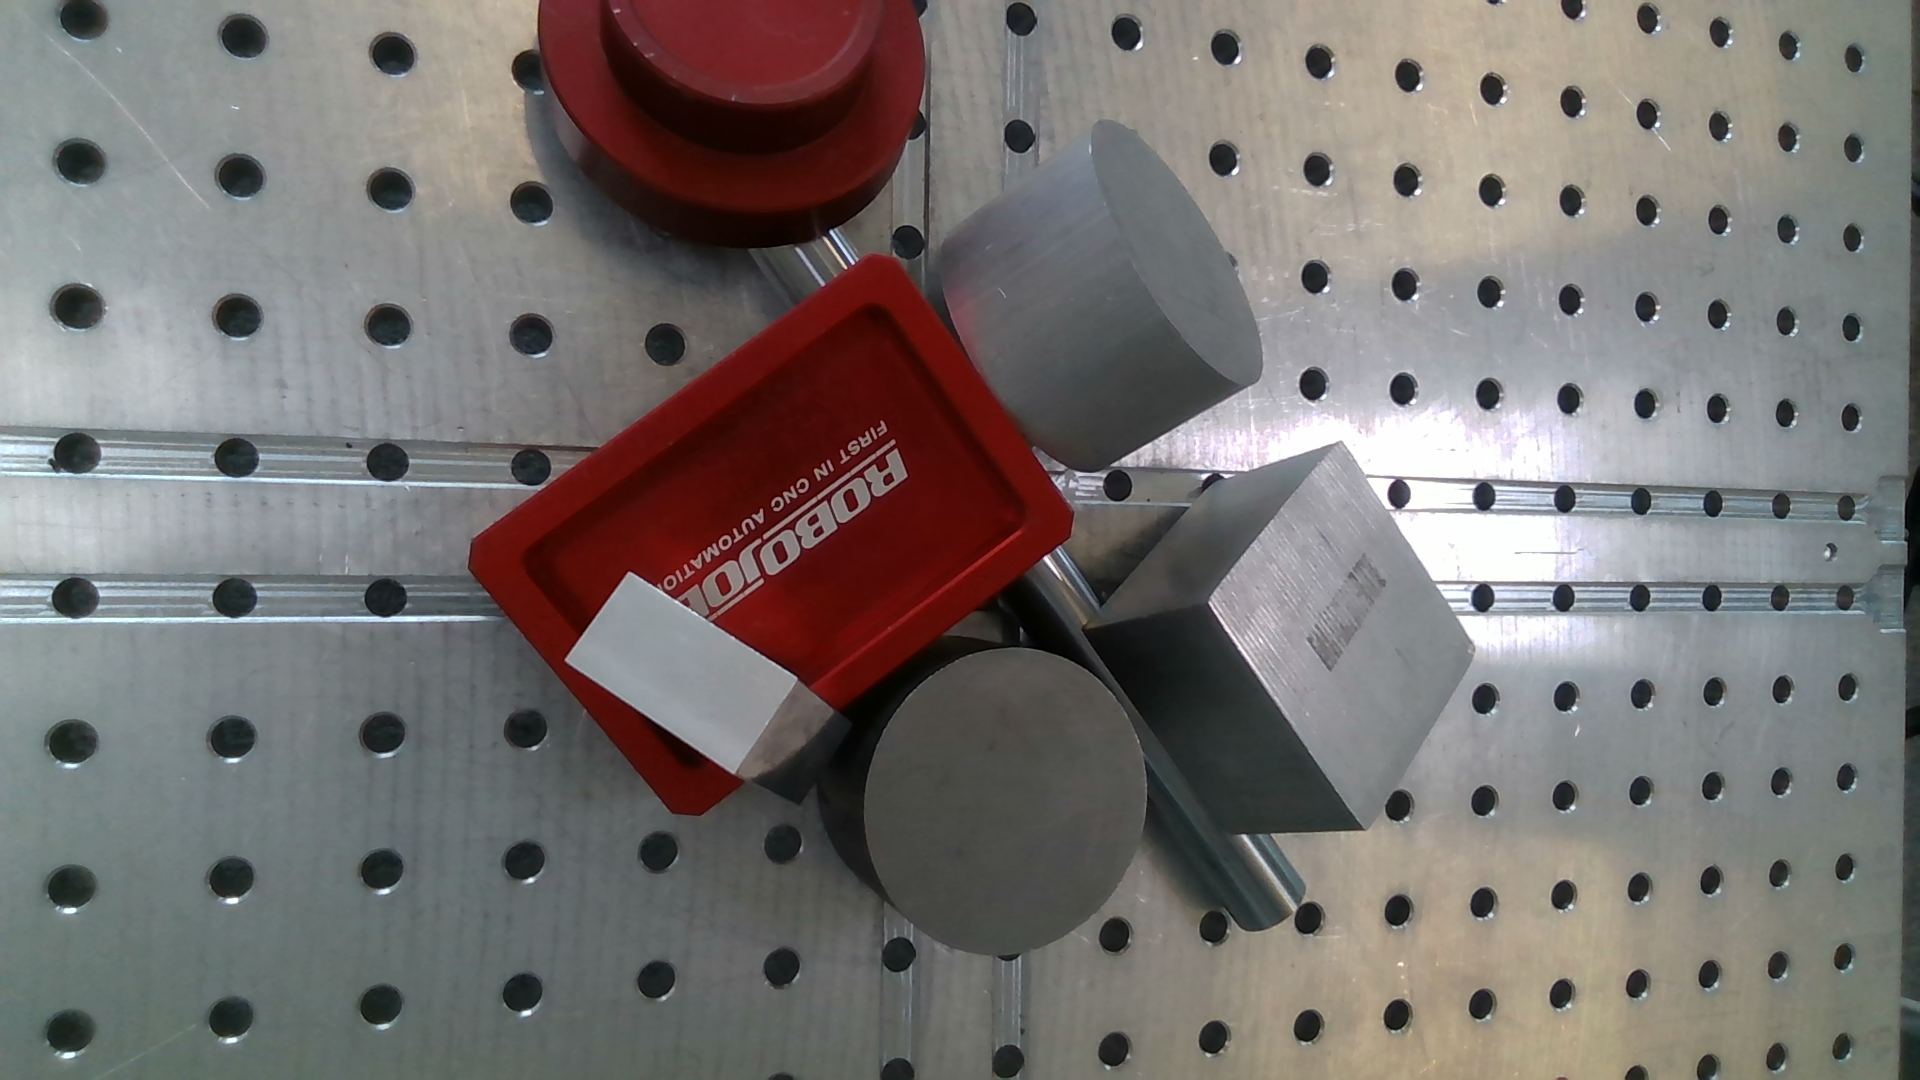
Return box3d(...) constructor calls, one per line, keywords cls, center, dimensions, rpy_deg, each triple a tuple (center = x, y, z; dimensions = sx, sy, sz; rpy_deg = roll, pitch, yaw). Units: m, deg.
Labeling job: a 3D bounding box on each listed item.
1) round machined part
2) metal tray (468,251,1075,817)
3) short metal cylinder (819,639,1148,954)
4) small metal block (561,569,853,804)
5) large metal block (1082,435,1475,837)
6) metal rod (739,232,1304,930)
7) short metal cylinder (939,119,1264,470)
box3d(cls="round machined part", center=(-0.056, -0.129, 0.352), dimensions=(0.098, 0.042, 0.098), rpy_deg=(4, 74, -13))
box3d(cls="metal tray", center=(-0.047, -0.002, 0.361), dimensions=(0.130, 0.030, 0.090), rpy_deg=(-37, 102, -4))
box3d(cls="short metal cylinder", center=(0.005, 0.069, 0.385), dimensions=(0.080, 0.050, 0.080), rpy_deg=(0, 90, -20))
box3d(cls="small metal block", center=(-0.059, 0.037, 0.331), dimensions=(0.050, 0.050, 0.025), rpy_deg=(30, 80, 18))
box3d(cls="large metal block", center=(0.096, 0.029, 0.406), dimensions=(0.080, 0.050, 0.080), rpy_deg=(-44, 105, -35))
box3d(cls="metal rod", center=(0.010, -0.005, 0.402), dimensions=(0.025, 0.025, 0.300), rpy_deg=(-40, 102, -16))
box3d(cls="short metal cylinder", center=(0.040, -0.066, 0.376), dimensions=(0.080, 0.050, 0.080), rpy_deg=(37, 37, -35))
